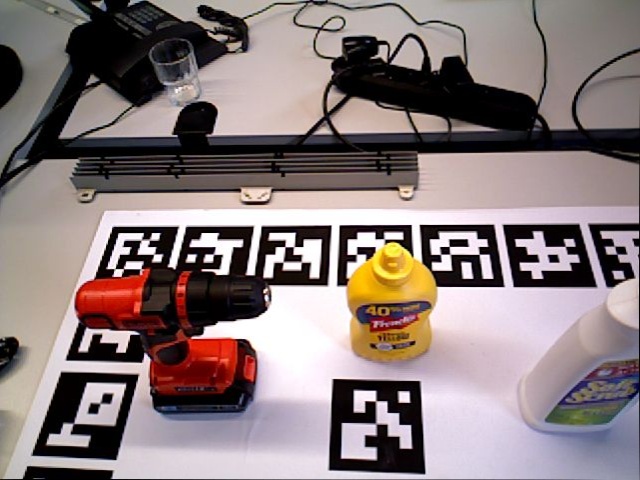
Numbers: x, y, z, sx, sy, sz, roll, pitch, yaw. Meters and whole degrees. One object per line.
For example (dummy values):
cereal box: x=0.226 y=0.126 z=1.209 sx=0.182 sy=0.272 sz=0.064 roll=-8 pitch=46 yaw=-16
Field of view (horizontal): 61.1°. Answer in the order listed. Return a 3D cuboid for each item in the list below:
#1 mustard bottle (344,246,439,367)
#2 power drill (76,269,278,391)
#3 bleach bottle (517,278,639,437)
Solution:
mustard bottle: x=0.074 y=0.069 z=0.569 sx=0.096 sy=0.195 sz=0.057 roll=-5 pitch=54 yaw=-1
power drill: x=-0.118 y=0.087 z=0.538 sx=0.184 sy=0.190 sz=0.056 roll=-6 pitch=53 yaw=6
bleach bottle: x=0.258 y=0.103 z=0.485 sx=0.102 sy=0.255 sz=0.066 roll=8 pitch=55 yaw=10
